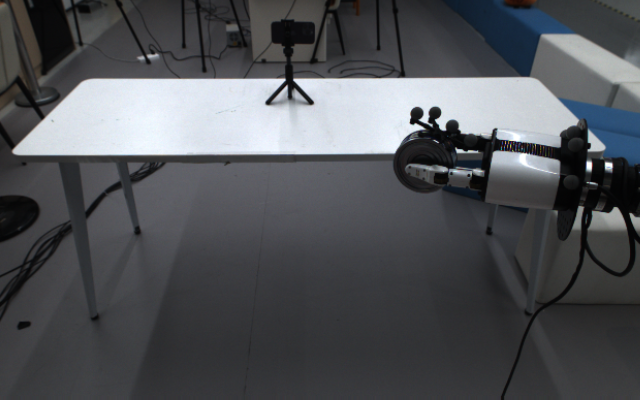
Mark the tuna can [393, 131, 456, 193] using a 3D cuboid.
[{"bbox_3d":[0.152,-0.047,0.682,0.085,0.085,0.034,15,31,18],"label":"tuna can"}]
